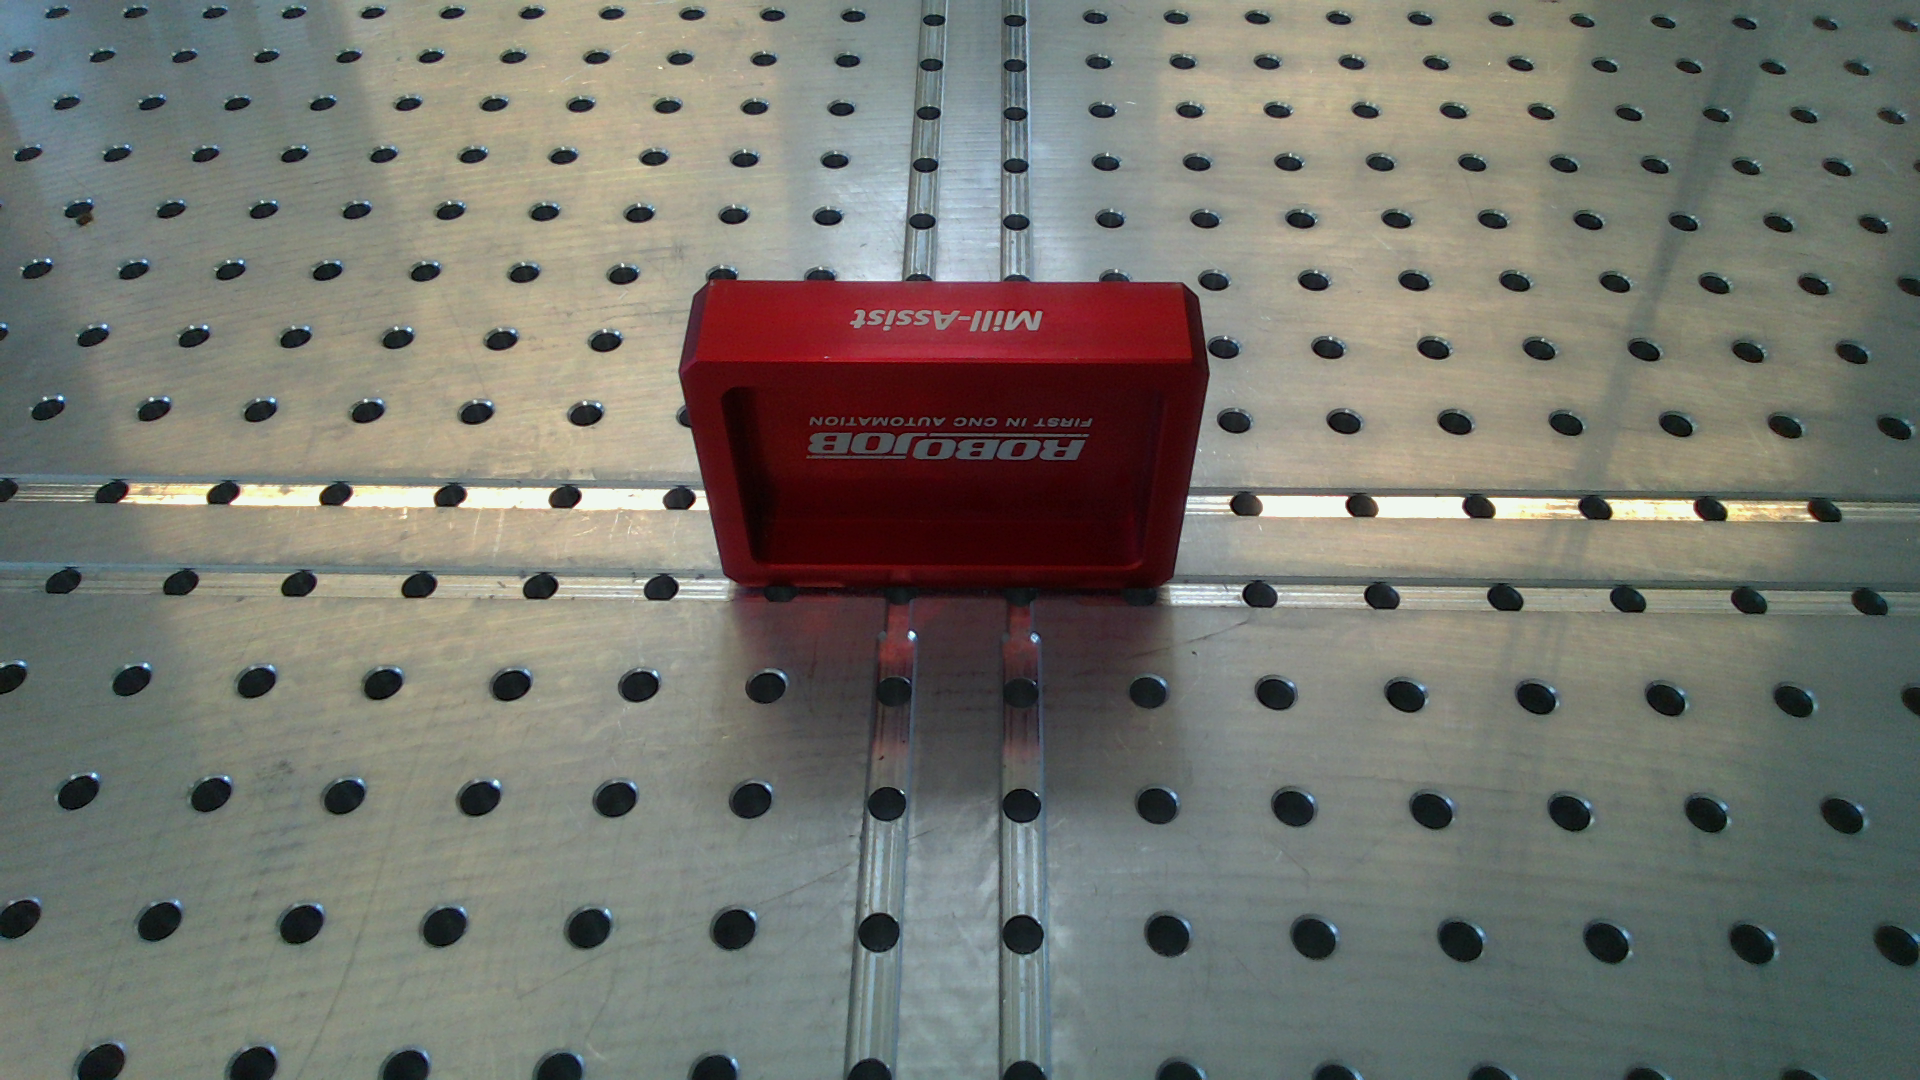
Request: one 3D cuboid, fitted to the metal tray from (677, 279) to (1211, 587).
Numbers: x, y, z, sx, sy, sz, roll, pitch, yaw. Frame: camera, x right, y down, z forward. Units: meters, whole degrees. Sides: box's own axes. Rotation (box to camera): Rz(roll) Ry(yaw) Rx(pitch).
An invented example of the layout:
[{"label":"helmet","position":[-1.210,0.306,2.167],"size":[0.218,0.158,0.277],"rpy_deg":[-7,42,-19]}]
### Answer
[{"label":"metal tray","position":[-0.004,-0.026,0.374],"size":[0.130,0.090,0.030],"rpy_deg":[0,50,0]}]
